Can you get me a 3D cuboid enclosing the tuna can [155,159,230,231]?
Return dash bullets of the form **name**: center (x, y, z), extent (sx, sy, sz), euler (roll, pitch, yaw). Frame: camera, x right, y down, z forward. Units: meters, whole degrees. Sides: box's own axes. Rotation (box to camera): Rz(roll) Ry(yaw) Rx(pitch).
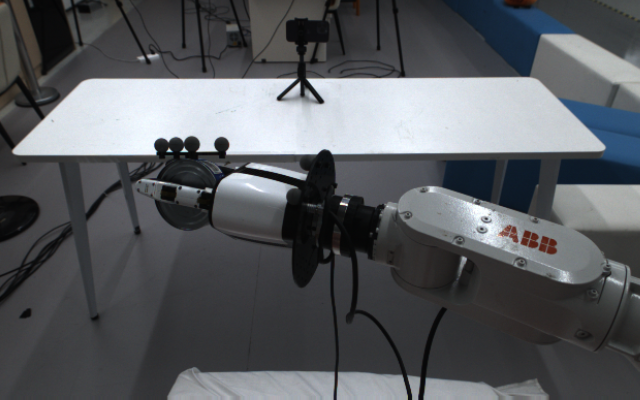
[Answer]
- **tuna can**: center (-0.152, -0.007, 0.585), extent (0.085, 0.085, 0.034), euler (11, 8, 13)
